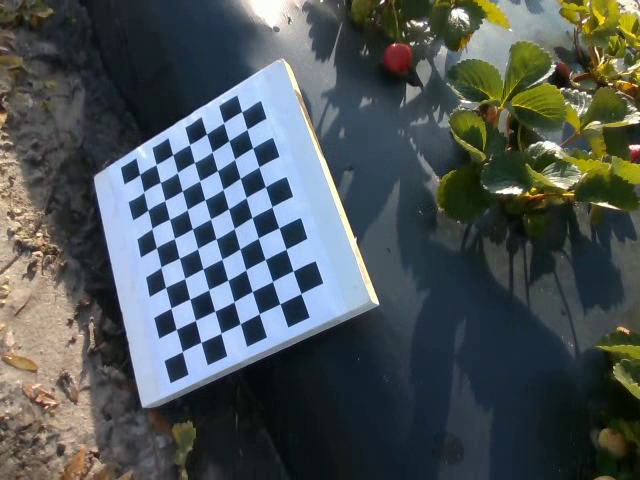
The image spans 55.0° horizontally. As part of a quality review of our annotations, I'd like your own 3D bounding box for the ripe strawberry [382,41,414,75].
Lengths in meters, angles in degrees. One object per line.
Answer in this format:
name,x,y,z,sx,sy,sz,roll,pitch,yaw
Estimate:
ripe strawberry,0.080,-0.187,0.638,0.030,0.045,0.033,2,-44,29
